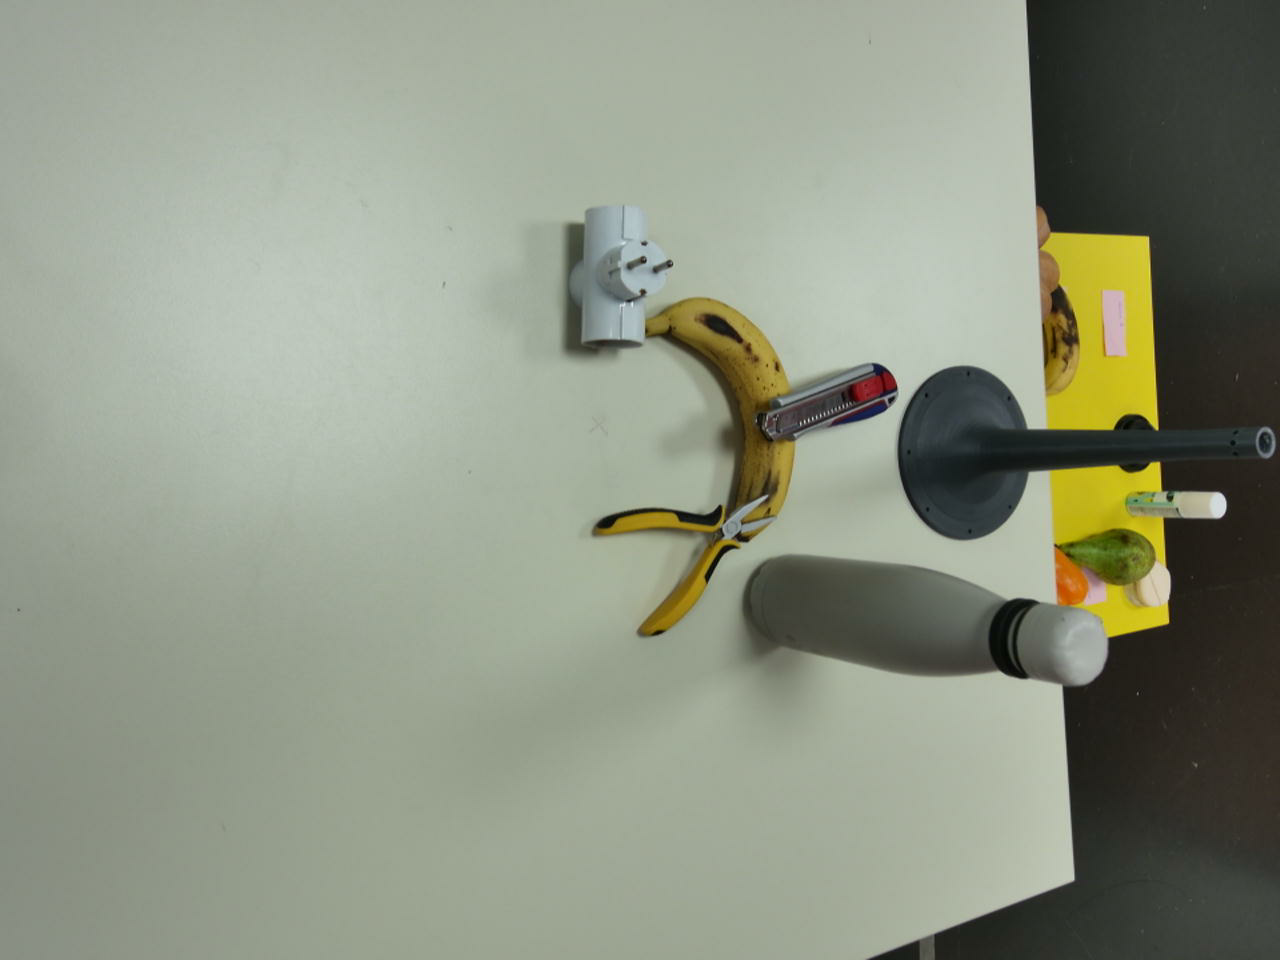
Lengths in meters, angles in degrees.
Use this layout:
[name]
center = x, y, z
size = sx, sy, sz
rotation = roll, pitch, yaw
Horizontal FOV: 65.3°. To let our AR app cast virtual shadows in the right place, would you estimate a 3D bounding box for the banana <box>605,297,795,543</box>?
[banana]
center = 0.066, -0.055, 0.731
size = 0.097, 0.038, 0.186
rotation = -35, 106, -23
